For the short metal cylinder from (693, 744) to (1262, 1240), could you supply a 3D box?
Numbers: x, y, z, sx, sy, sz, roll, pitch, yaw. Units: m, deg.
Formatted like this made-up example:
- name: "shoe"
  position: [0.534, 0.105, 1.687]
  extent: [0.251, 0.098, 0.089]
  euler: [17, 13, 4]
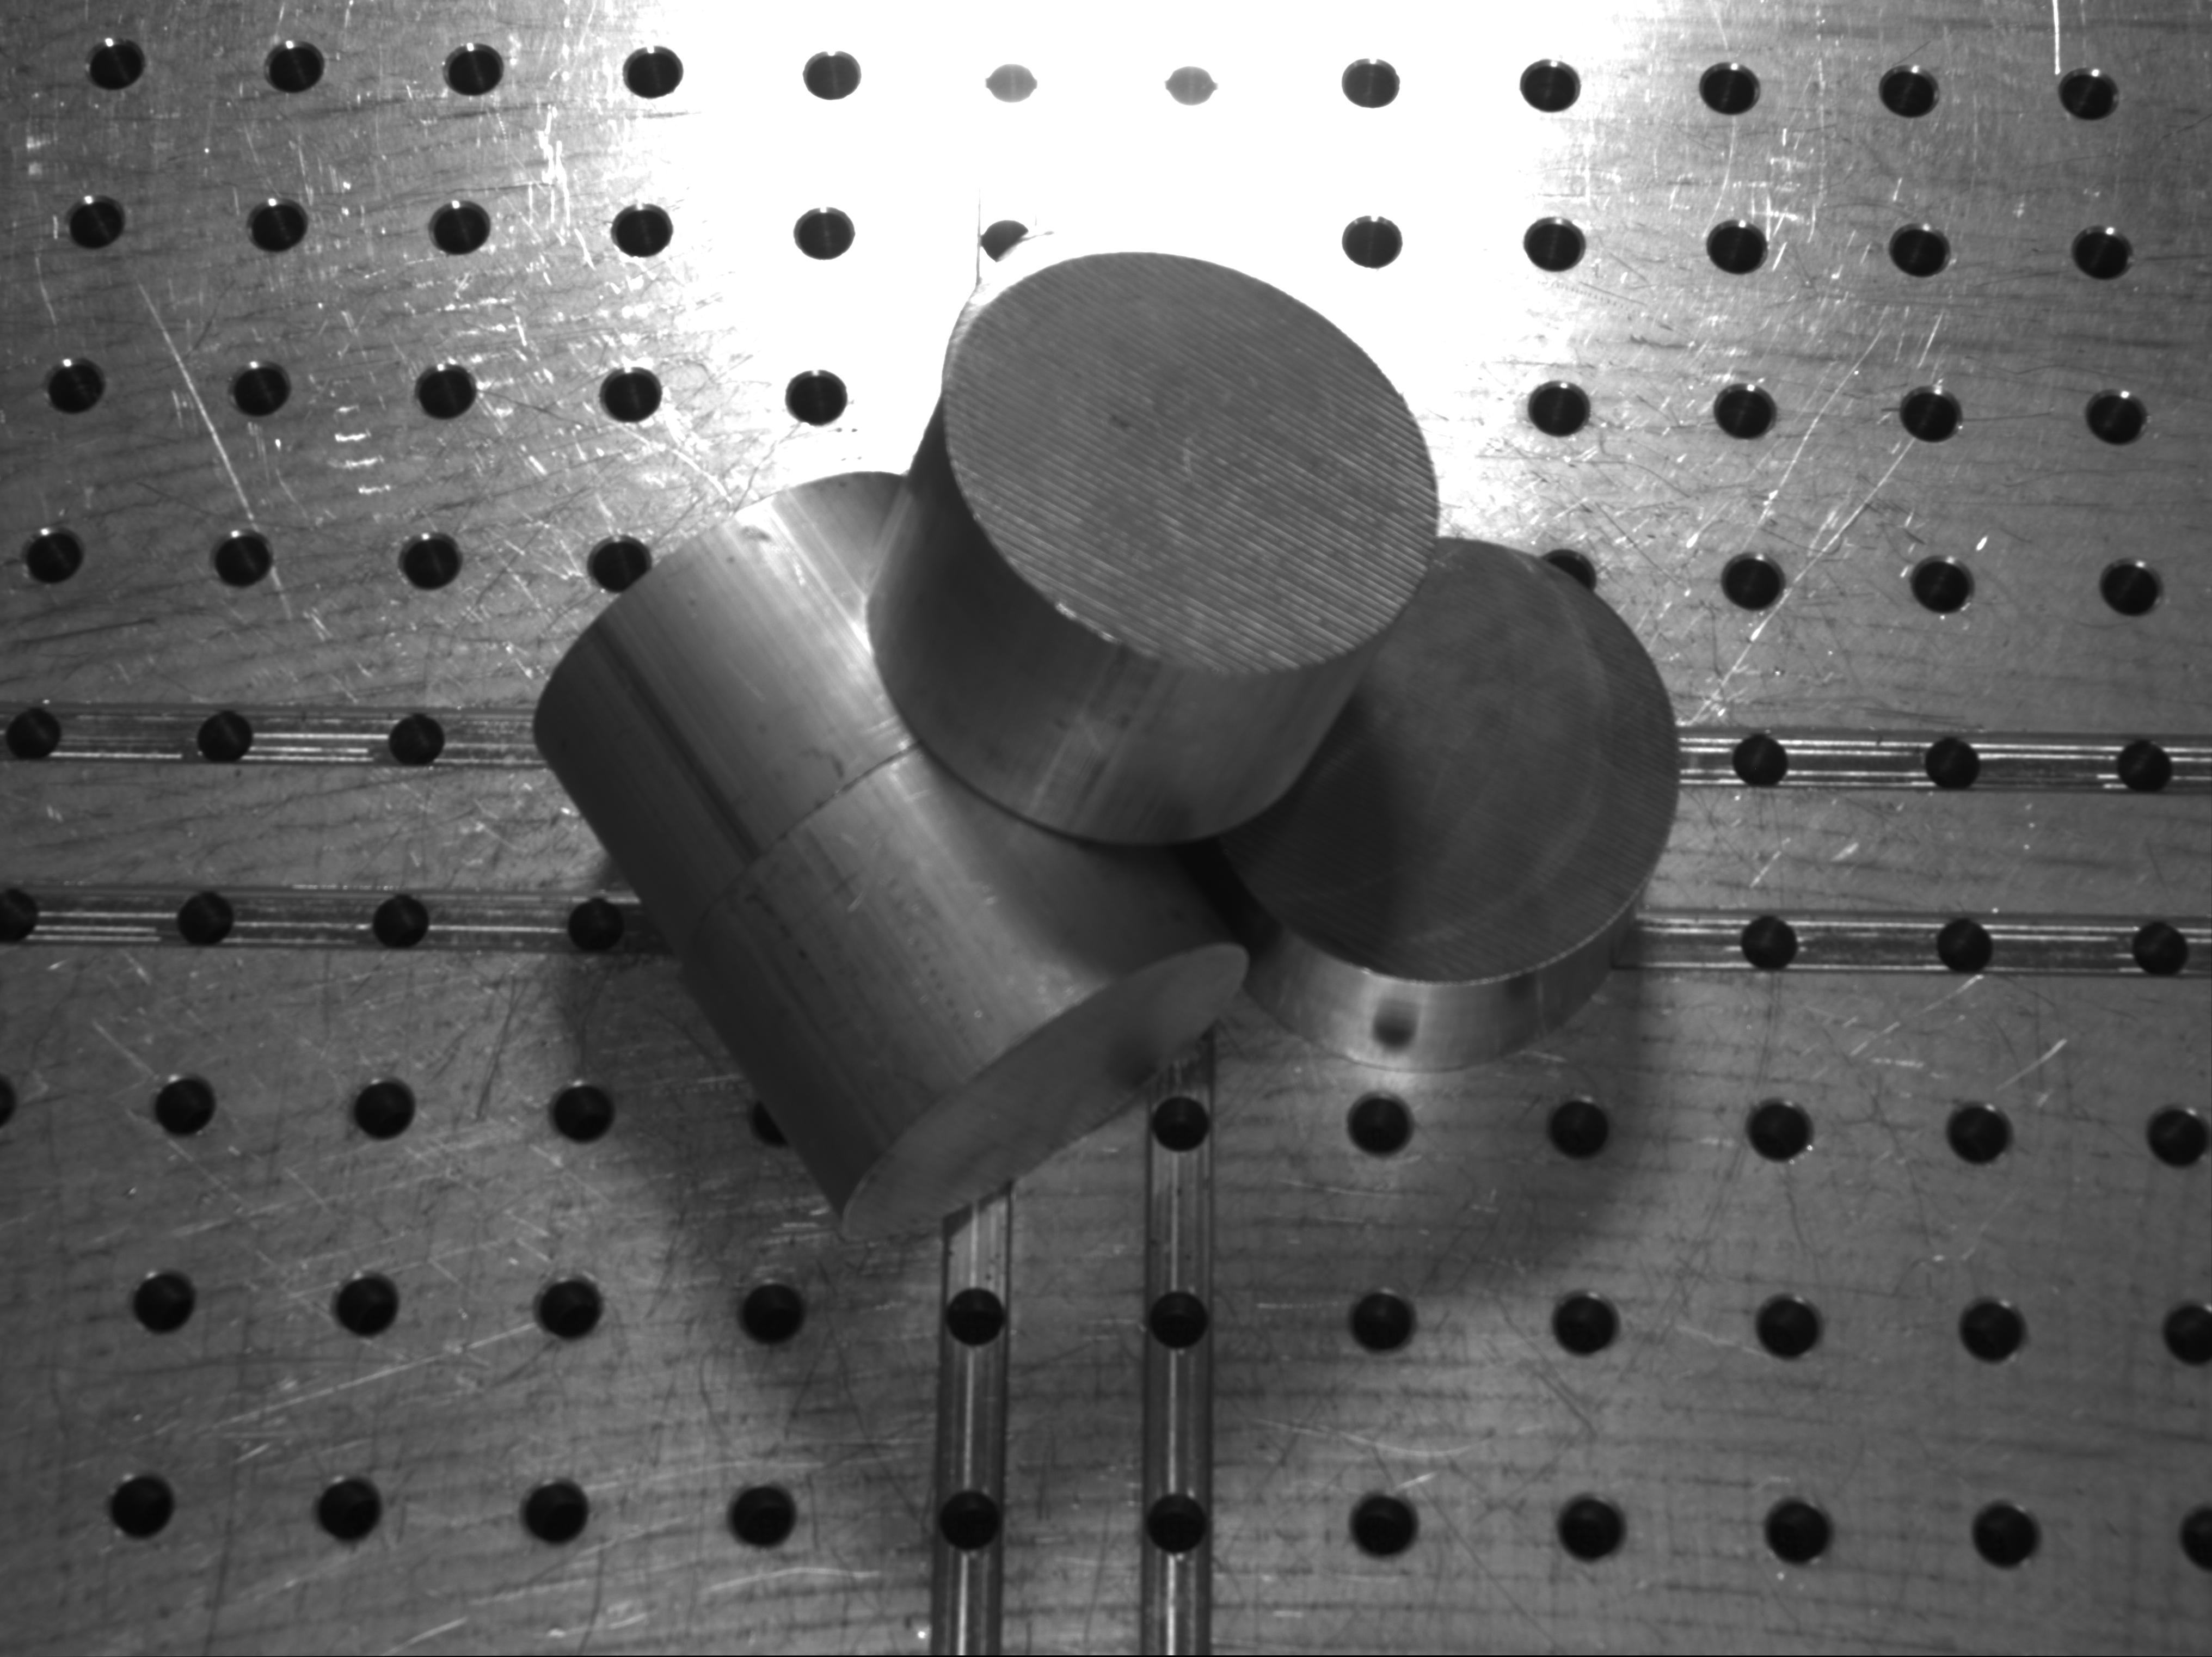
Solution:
- name: "short metal cylinder"
  position: [-0.021, 0.024, 0.609]
  extent: [0.080, 0.080, 0.050]
  euler: [-32, 73, -11]

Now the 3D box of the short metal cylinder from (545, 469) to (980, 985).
- name: "short metal cylinder"
  position: [-0.048, -0.016, 0.624]
  extent: [0.080, 0.080, 0.050]
  euler: [-32, 73, -11]

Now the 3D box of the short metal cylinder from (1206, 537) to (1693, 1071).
- name: "short metal cylinder"
  position: [0.058, -0.004, 0.634]
  extent: [0.080, 0.050, 0.080]
  euler: [0, 70, 0]

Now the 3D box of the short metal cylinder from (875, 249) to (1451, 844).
- name: "short metal cylinder"
  position: [0.008, -0.045, 0.582]
  extent: [0.080, 0.050, 0.080]
  euler: [10, 56, -14]

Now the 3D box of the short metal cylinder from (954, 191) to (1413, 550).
- name: "short metal cylinder"
  position: [0.013, -0.067, 0.658]
  extent: [0.080, 0.050, 0.080]
  euler: [0, 70, 0]
